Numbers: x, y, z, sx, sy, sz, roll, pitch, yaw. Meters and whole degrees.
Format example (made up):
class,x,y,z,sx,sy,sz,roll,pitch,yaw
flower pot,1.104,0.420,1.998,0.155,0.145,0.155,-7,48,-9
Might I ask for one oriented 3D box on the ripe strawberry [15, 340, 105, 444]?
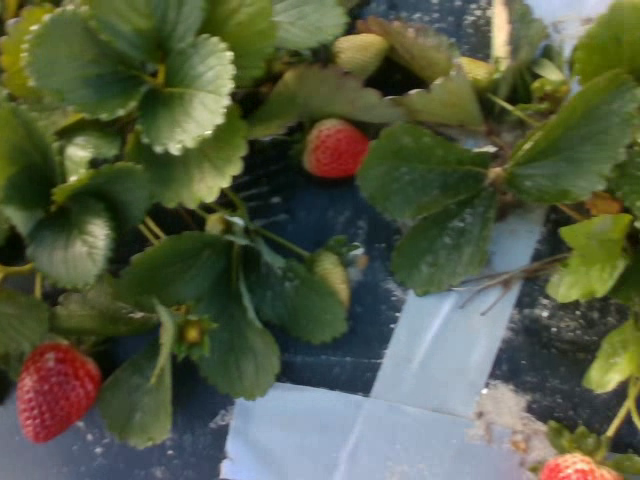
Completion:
class,x,y,z,sx,sy,sz,roll,pitch,yaw
ripe strawberry,-0.058,0.034,0.135,0.018,0.023,0.021,9,-16,20
